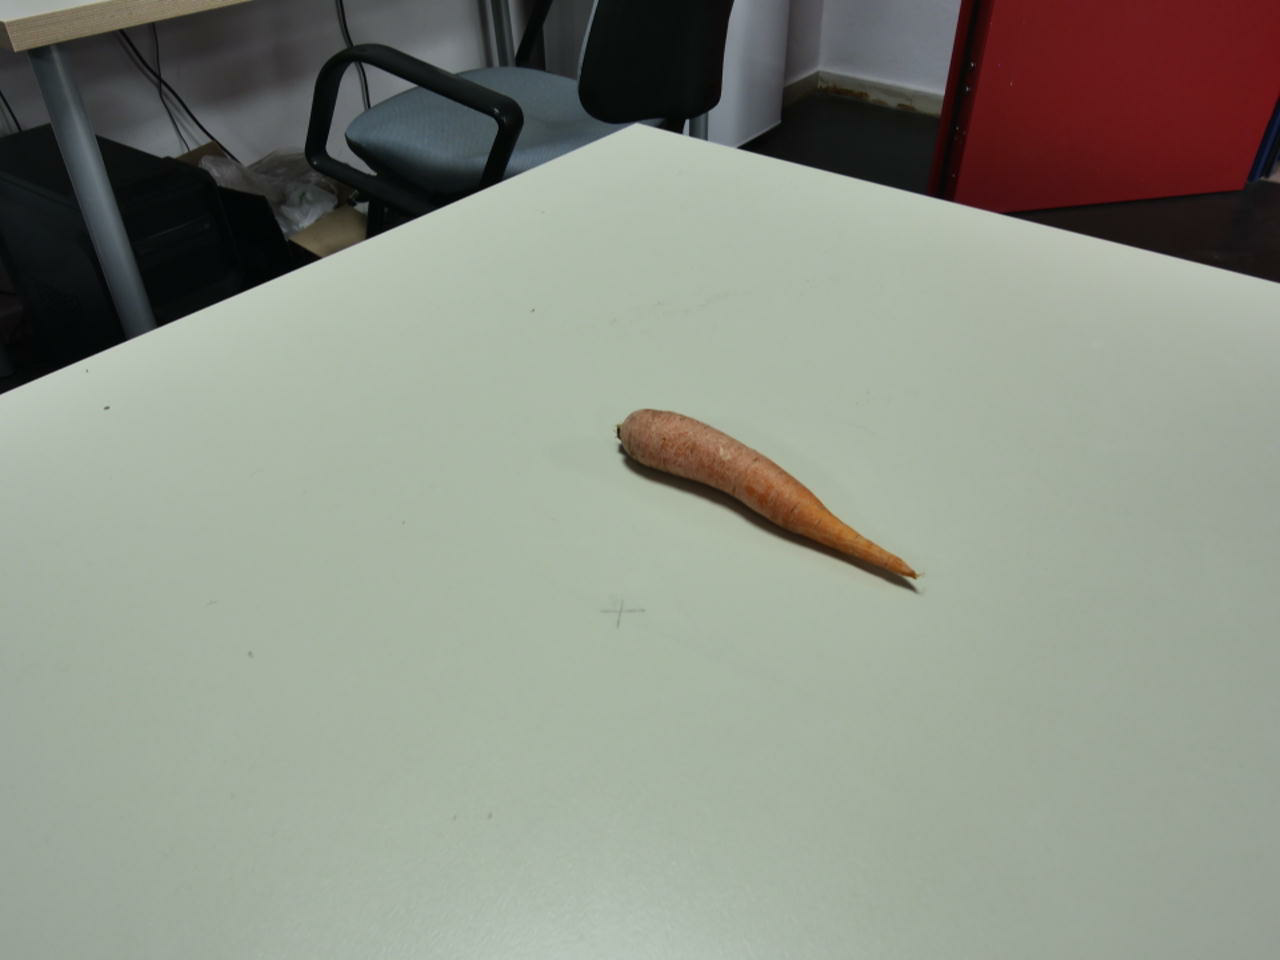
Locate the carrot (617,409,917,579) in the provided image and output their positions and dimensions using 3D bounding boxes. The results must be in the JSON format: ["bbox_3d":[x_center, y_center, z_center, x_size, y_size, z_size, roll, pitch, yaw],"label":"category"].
[{"bbox_3d":[0.053,0.002,0.449,0.163,0.029,0.031,27,44,31],"label":"carrot"}]
